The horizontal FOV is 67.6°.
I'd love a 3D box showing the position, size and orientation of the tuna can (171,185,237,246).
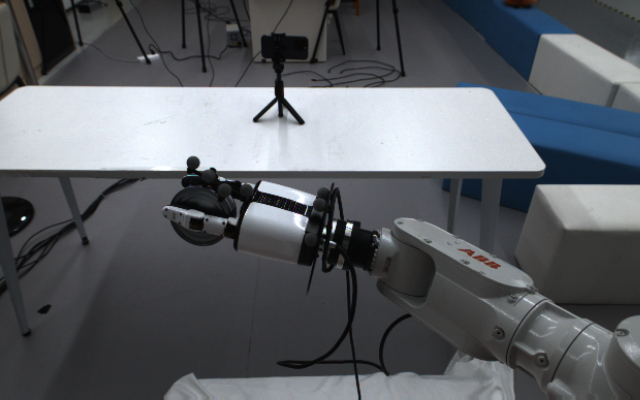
[{"bbox_3d":[-0.158,0.018,0.662,0.085,0.085,0.034,7,16,7],"label":"tuna can"}]
